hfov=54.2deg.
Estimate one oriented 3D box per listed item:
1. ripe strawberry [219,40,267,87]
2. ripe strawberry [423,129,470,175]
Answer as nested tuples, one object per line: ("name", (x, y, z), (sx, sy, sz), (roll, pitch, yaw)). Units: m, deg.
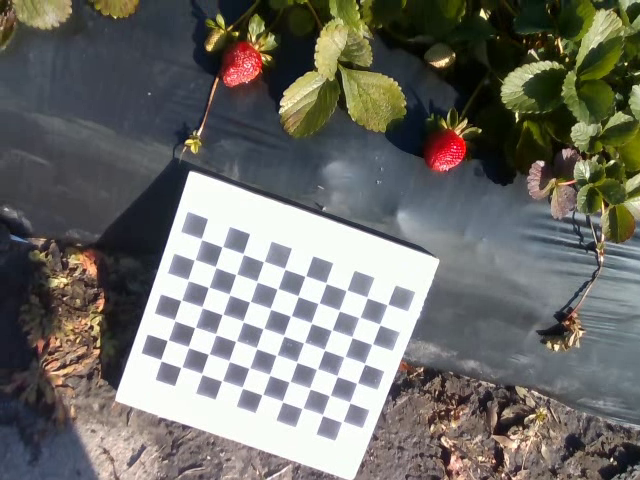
("ripe strawberry", (-0.076, -0.161, 0.581), (0.042, 0.053, 0.043), (30, -36, -8))
("ripe strawberry", (0.115, -0.080, 0.585), (0.043, 0.042, 0.050), (-25, 15, 46))
